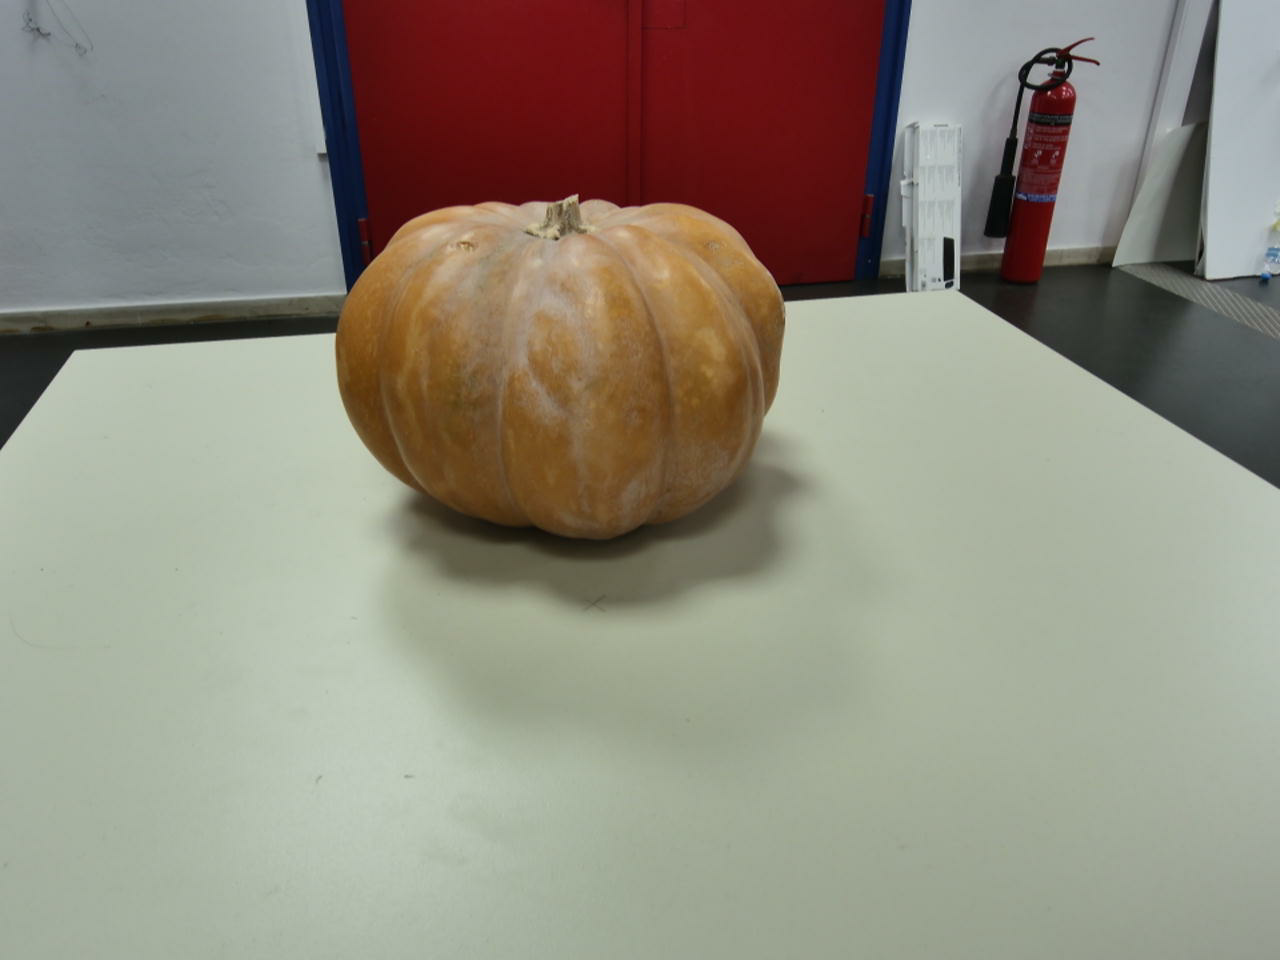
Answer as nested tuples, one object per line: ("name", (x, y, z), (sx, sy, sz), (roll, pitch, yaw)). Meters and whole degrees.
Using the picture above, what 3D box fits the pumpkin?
("pumpkin", (-0.043, -0.075, 0.593), (0.277, 0.181, 0.277), (0, 27, 0))
